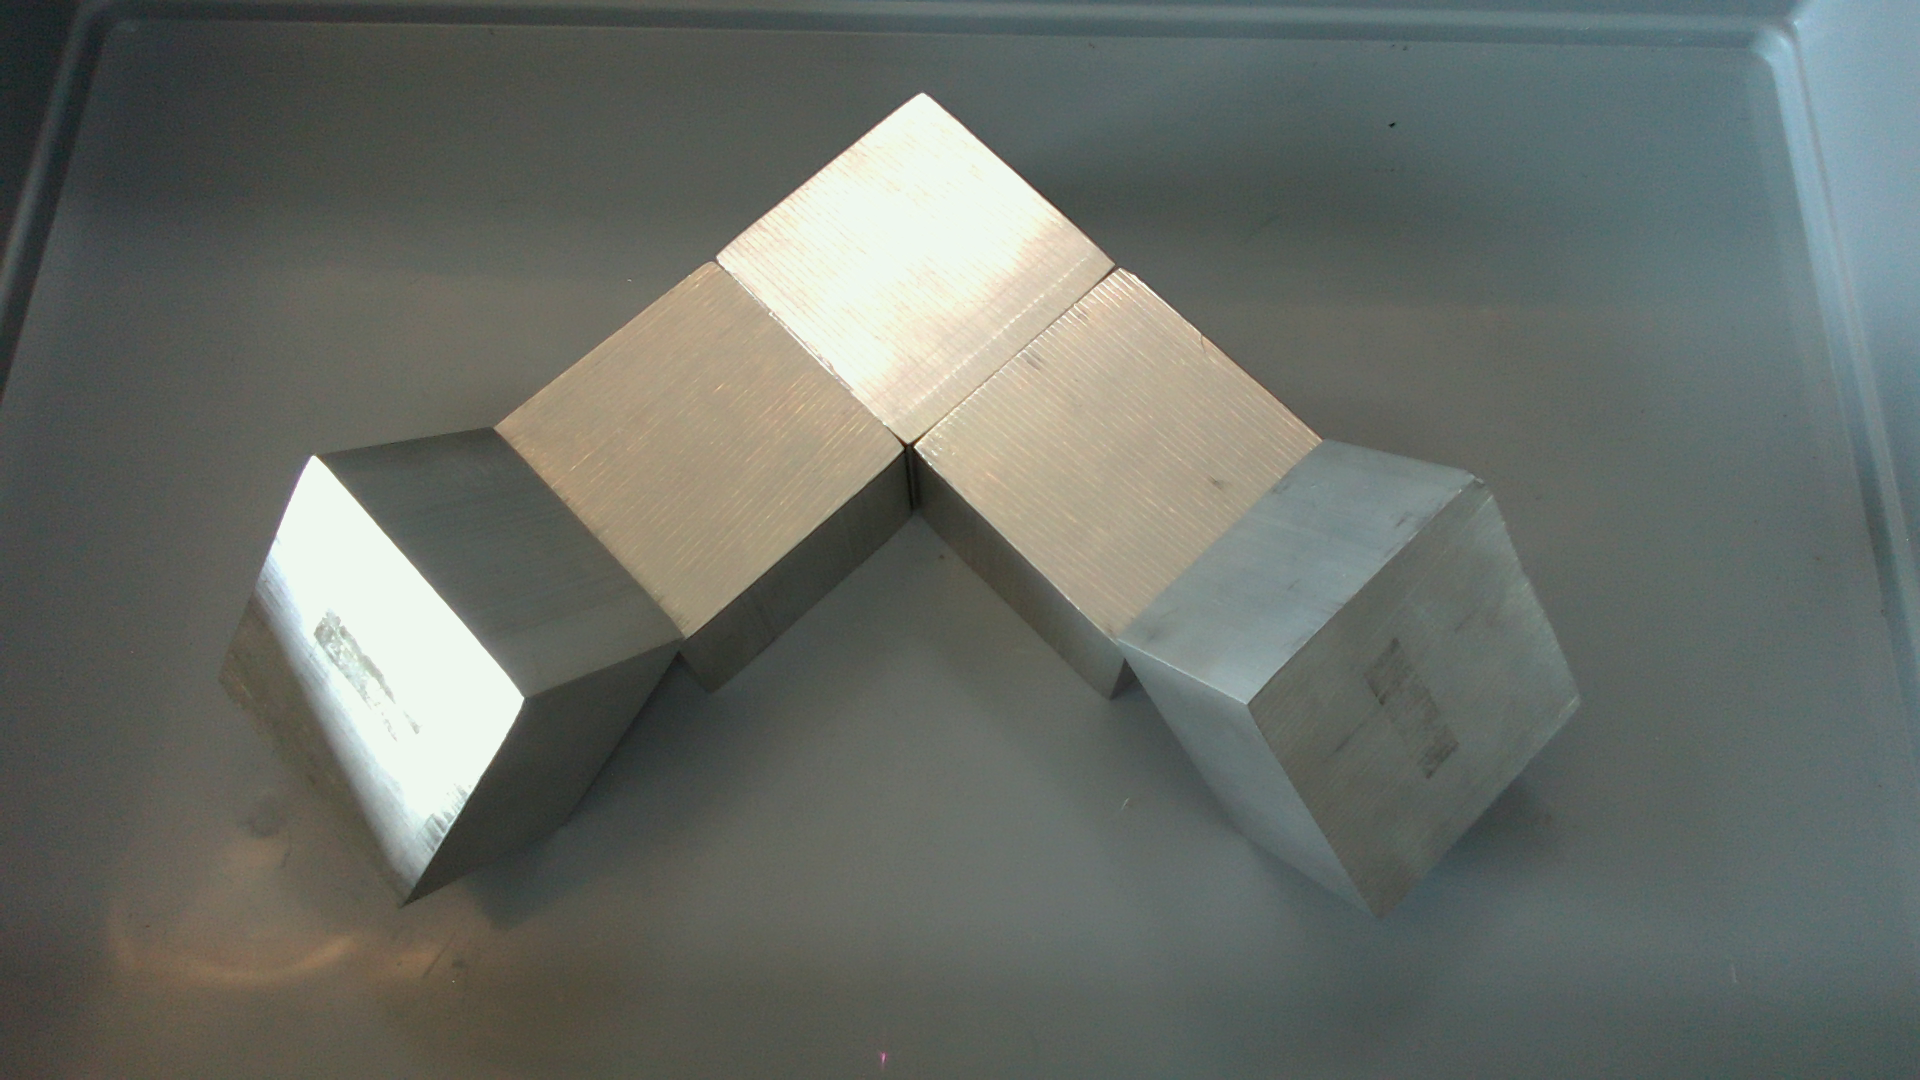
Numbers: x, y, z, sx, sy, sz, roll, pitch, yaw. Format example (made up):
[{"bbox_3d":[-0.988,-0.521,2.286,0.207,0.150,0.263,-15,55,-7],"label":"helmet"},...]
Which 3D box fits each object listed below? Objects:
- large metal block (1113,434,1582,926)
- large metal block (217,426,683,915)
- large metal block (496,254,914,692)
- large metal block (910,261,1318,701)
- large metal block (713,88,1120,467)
[{"bbox_3d":[0.098,0.033,0.346,0.080,0.050,0.080,-42,119,-14],"label":"large metal block"},{"bbox_3d":[-0.129,0.031,0.345,0.080,0.050,0.080,44,118,14],"label":"large metal block"},{"bbox_3d":[-0.070,-0.018,0.386,0.080,0.050,0.080,-42,75,-14],"label":"large metal block"},{"bbox_3d":[0.043,-0.016,0.386,0.080,0.050,0.080,-42,75,-14],"label":"large metal block"},{"bbox_3d":[-0.012,-0.070,0.405,0.080,0.050,0.080,-42,75,-14],"label":"large metal block"}]
